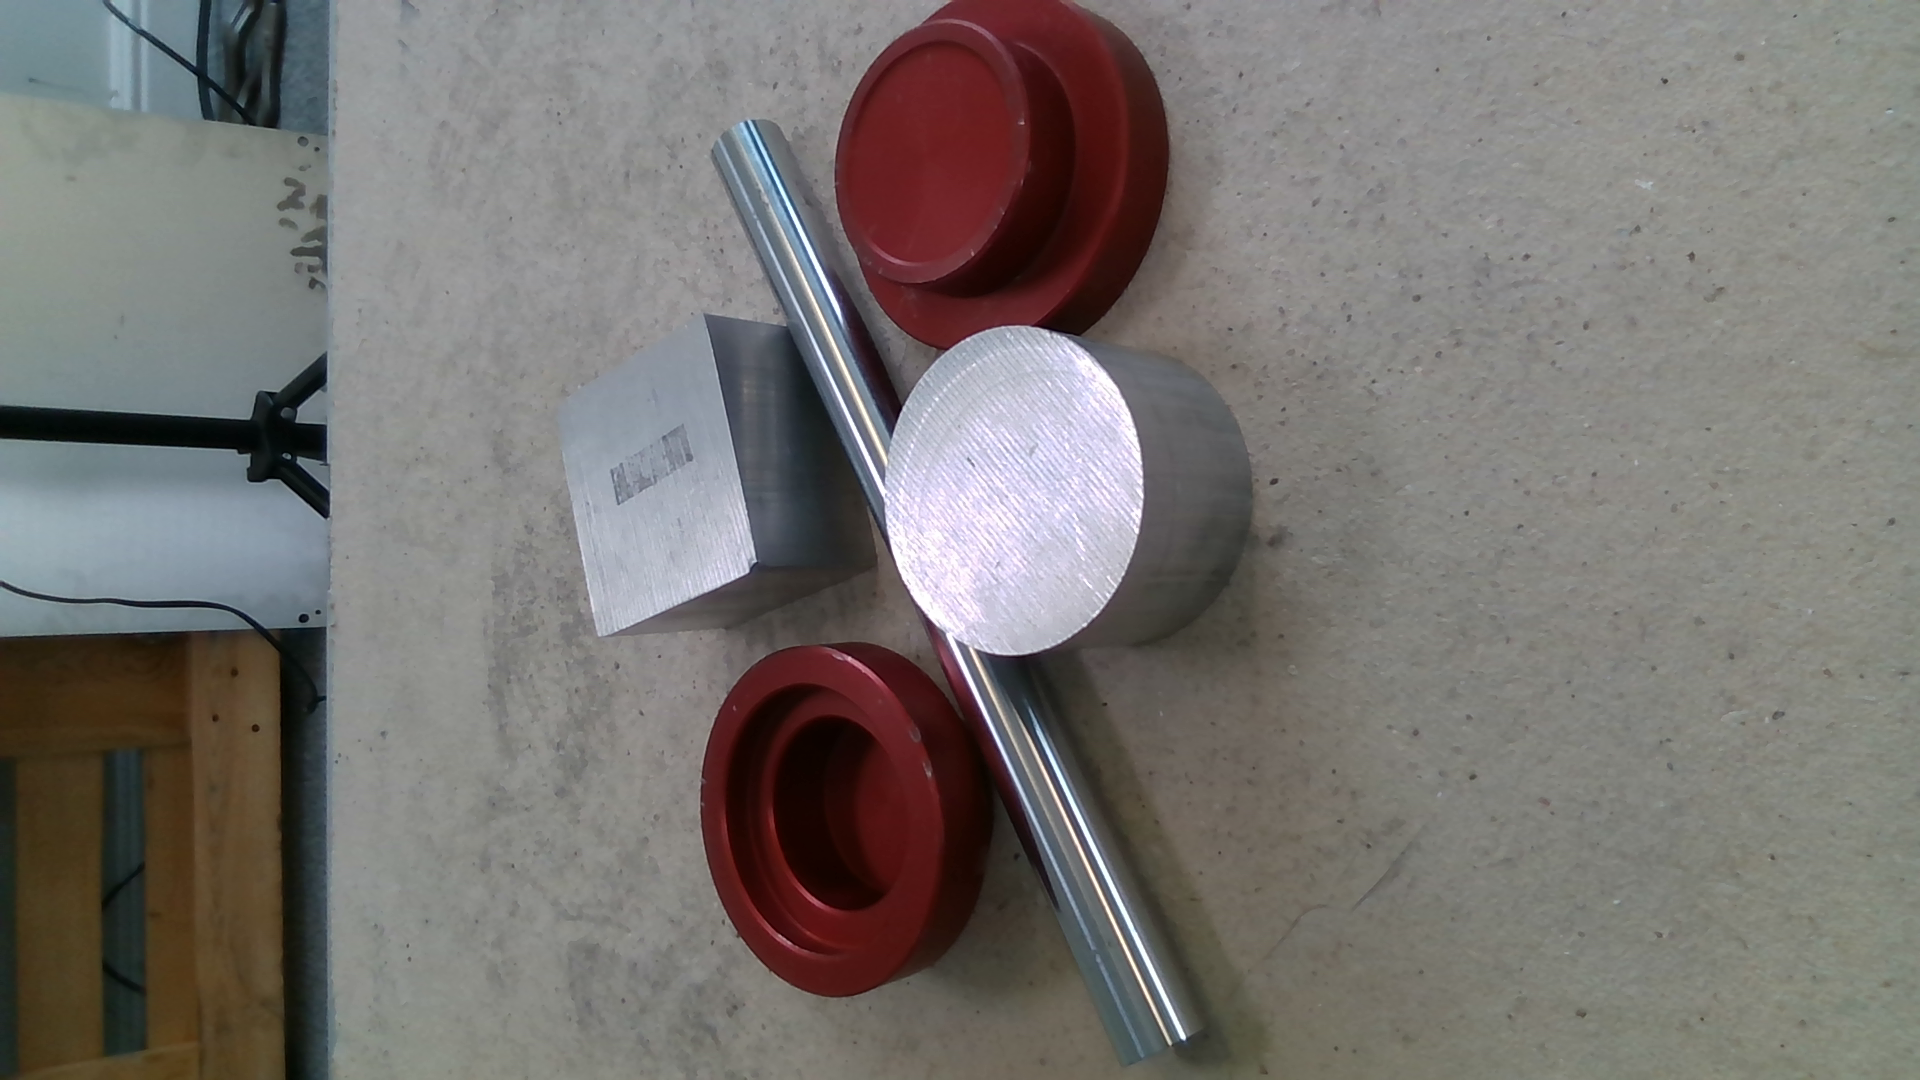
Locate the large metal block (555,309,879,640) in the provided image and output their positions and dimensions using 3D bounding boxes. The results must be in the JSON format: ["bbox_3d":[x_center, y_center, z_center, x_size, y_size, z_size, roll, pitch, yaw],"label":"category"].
[{"bbox_3d":[-0.080,-0.018,0.443,0.080,0.050,0.080,-22,76,38],"label":"large metal block"}]

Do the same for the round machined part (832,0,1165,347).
[{"bbox_3d":[0.003,-0.101,0.376,0.098,0.042,0.098,0,91,40],"label":"round machined part"}]

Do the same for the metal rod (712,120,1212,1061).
[{"bbox_3d":[-0.008,-0.001,0.399,0.025,0.025,0.299,-39,67,33],"label":"metal rod"}]

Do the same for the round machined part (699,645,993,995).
[{"bbox_3d":[-0.029,0.079,0.405,0.098,0.042,0.098,0,91,40],"label":"round machined part"}]

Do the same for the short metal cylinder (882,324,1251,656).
[{"bbox_3d":[0.026,-0.012,0.352,0.080,0.050,0.080,0,91,40],"label":"short metal cylinder"}]
